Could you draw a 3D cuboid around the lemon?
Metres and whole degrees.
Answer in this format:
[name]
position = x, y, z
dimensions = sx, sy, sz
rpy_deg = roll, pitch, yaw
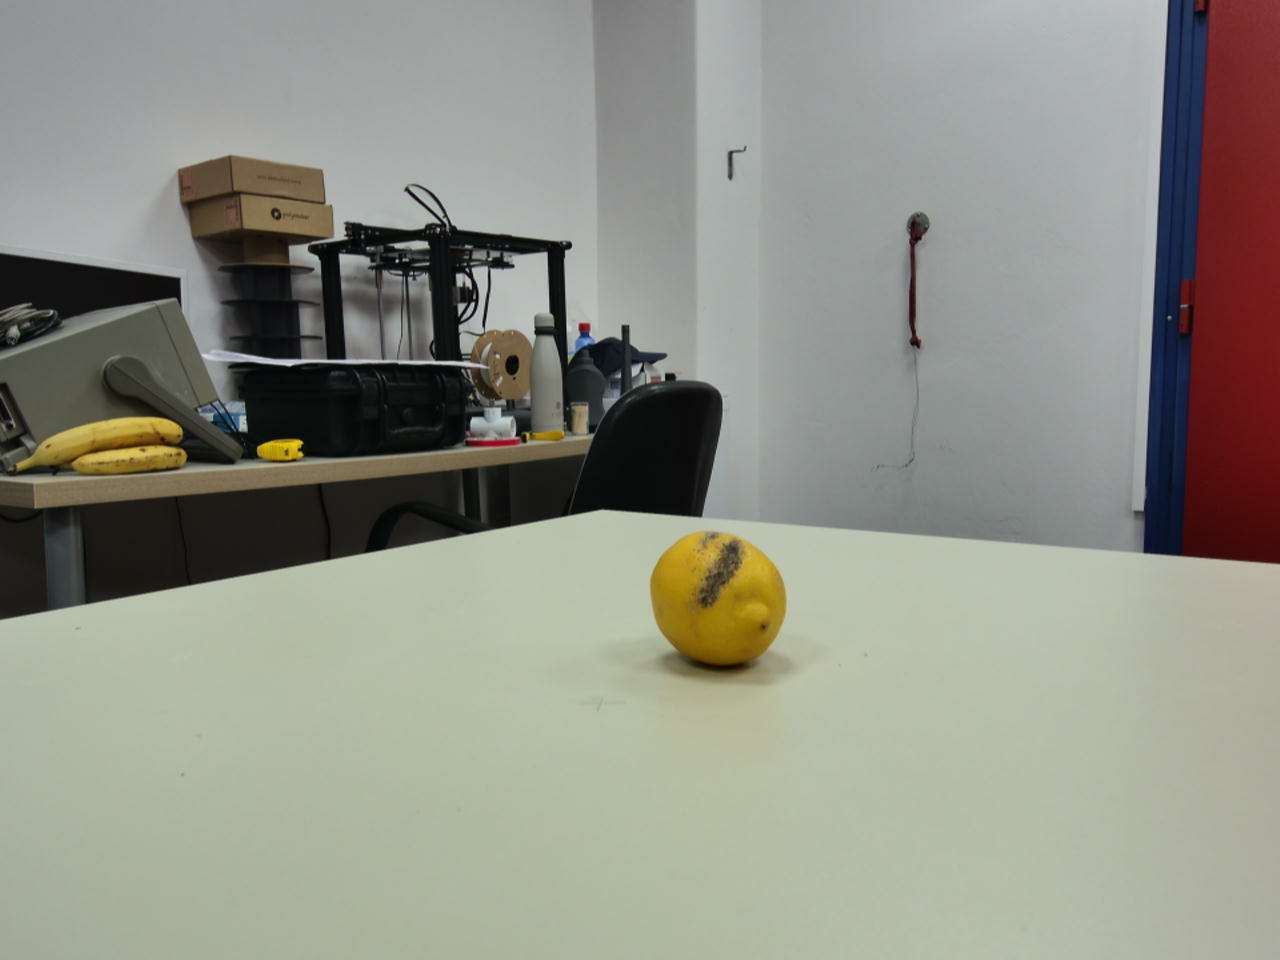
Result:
[lemon]
position = 0.035, 0.052, 0.437
dimensions = 0.061, 0.056, 0.058
rpy_deg = 2, 4, 29
